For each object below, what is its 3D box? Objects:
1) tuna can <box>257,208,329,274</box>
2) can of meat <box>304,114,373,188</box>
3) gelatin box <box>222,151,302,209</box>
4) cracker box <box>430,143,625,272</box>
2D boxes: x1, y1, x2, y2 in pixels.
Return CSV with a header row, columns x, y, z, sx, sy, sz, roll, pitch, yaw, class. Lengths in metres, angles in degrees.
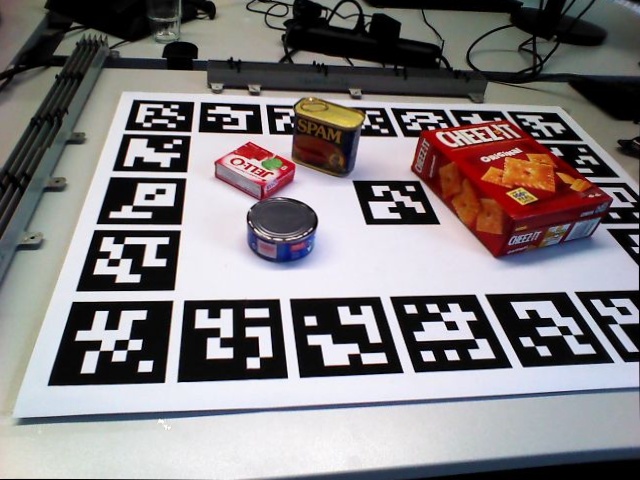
x,y,z,sx,sy,sz,roll,pitch,yaw,class
-0.034,0.000,0.625,0.086,0.034,0.085,3,43,-3,tuna can
0.027,-0.130,0.771,0.102,0.084,0.057,19,40,16,can of meat
-0.082,-0.087,0.733,0.089,0.030,0.073,30,41,22,gelatin box
0.277,-0.057,0.725,0.164,0.072,0.213,-10,40,-21,cracker box
